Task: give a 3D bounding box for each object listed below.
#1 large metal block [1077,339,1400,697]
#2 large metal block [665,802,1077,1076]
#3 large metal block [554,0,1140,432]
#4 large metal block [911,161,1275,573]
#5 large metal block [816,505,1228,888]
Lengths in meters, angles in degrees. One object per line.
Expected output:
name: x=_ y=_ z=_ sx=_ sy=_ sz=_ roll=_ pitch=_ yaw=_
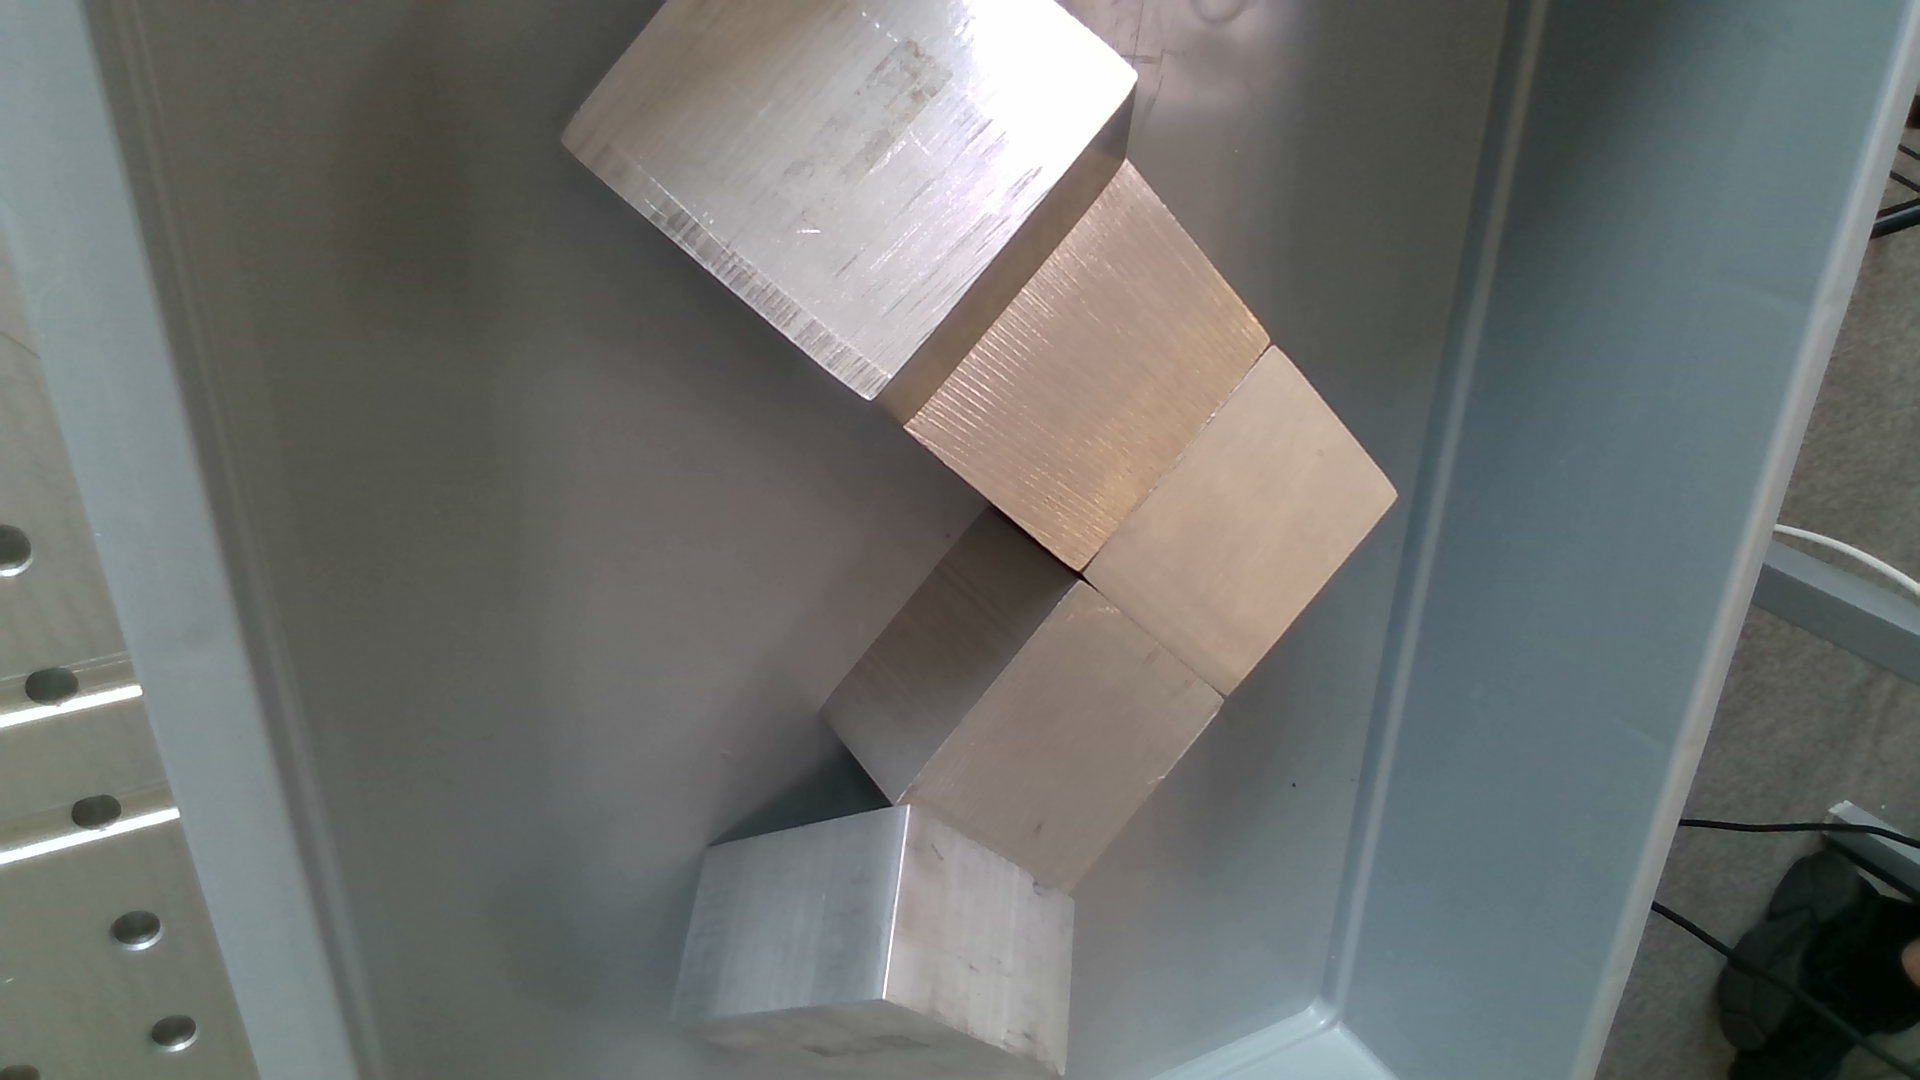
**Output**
large metal block: x=0.070 y=-0.013 z=0.408 sx=0.080 sy=0.050 sz=0.080 roll=-51 pitch=129 yaw=2
large metal block: x=-0.023 y=0.120 z=0.396 sx=0.080 sy=0.050 sz=0.080 roll=-19 pitch=139 yaw=33
large metal block: x=-0.021 y=-0.081 z=0.288 sx=0.080 sy=0.050 sz=0.080 roll=39 pitch=92 yaw=3
large metal block: x=0.021 y=-0.052 z=0.357 sx=0.080 sy=0.050 sz=0.080 roll=-51 pitch=129 yaw=2
large metal block: x=0.019 y=0.049 z=0.410 sx=0.080 sy=0.050 sz=0.080 roll=-51 pitch=129 yaw=2
